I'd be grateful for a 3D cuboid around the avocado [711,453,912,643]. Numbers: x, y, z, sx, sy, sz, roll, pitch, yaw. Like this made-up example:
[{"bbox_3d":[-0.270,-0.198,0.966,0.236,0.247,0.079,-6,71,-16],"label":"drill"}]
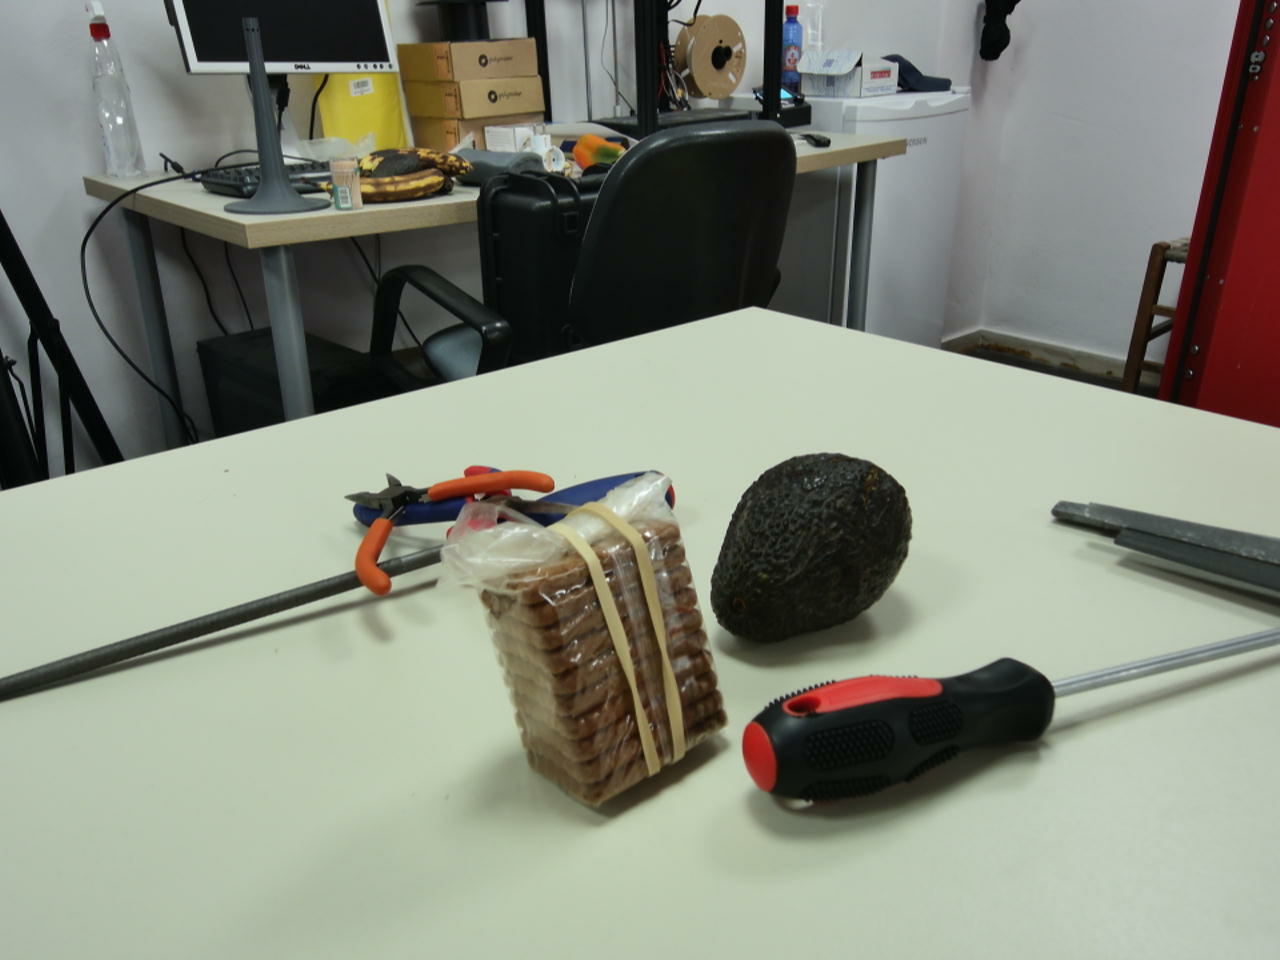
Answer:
[{"bbox_3d":[0.069,0.024,0.415,0.090,0.069,0.070,-6,22,-13],"label":"avocado"}]
